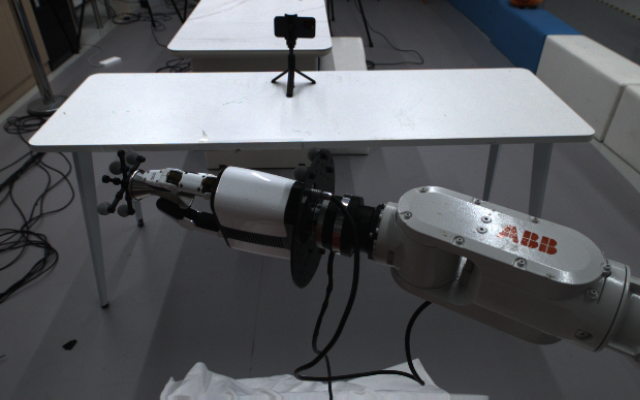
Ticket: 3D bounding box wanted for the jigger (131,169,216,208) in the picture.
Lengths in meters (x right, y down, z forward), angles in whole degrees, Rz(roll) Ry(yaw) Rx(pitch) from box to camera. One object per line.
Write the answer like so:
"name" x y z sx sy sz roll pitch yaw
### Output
"jigger" -0.189 -0.017 0.599 0.071 0.043 0.043 7 35 13
